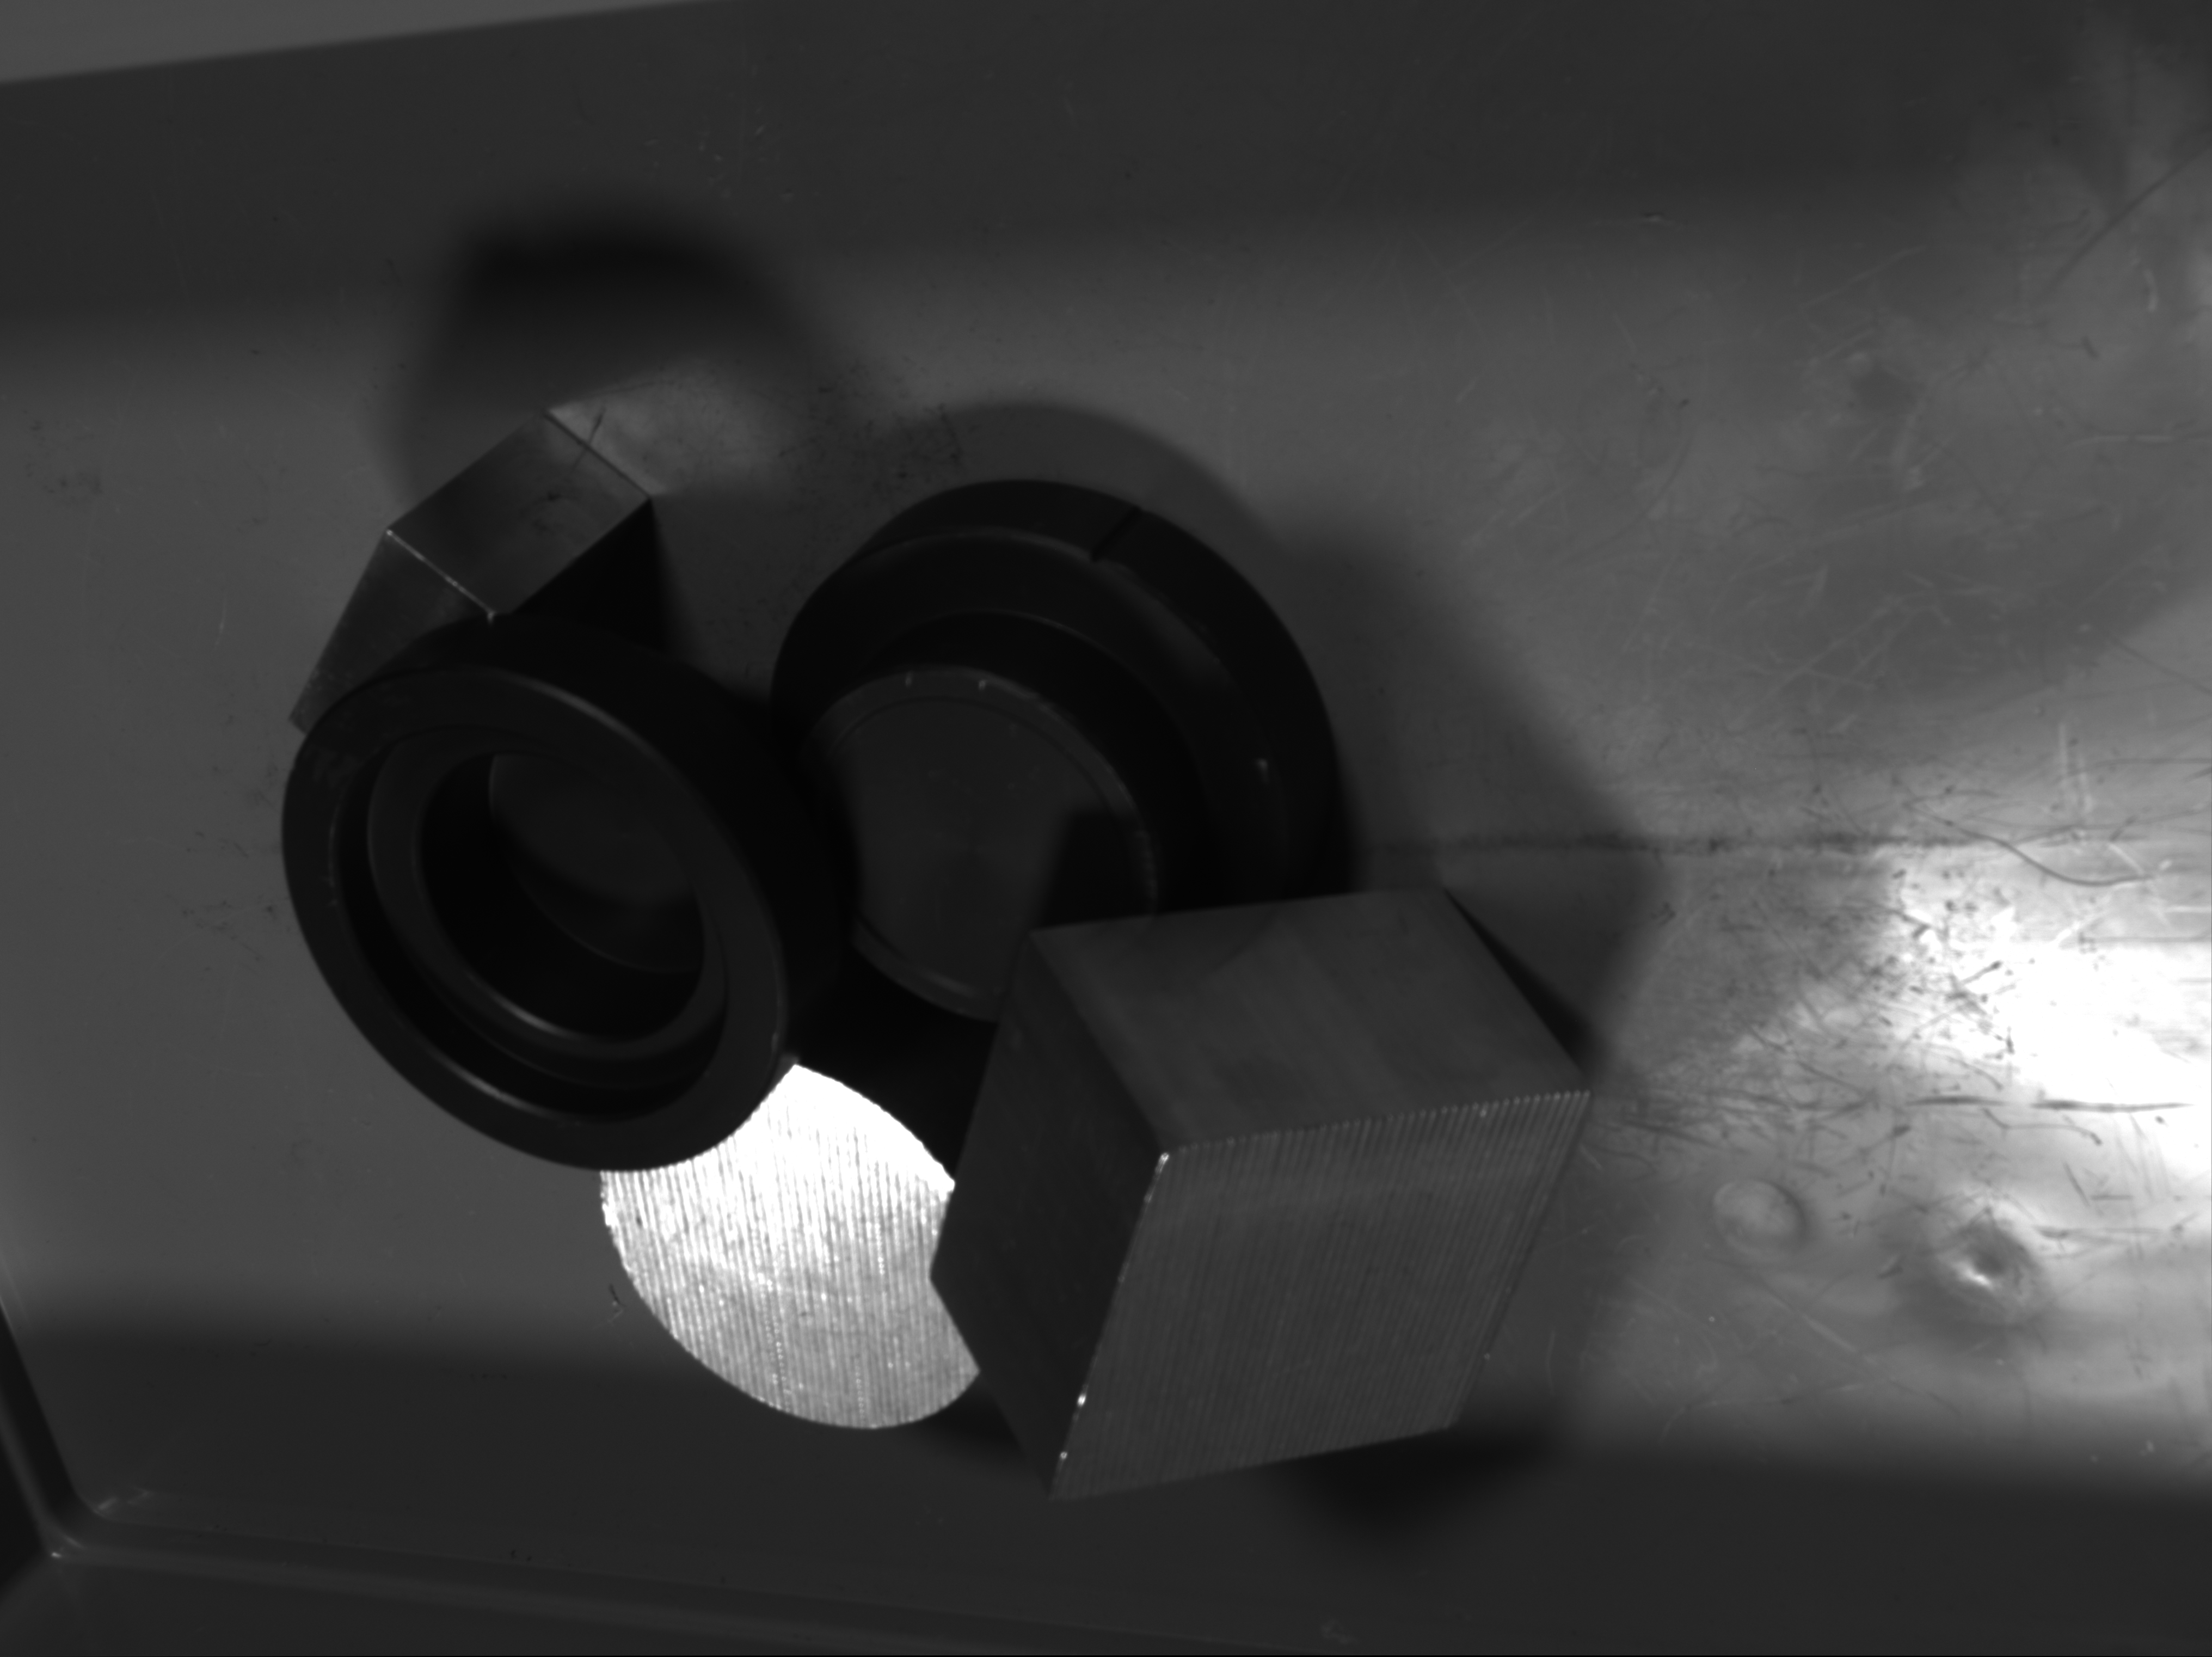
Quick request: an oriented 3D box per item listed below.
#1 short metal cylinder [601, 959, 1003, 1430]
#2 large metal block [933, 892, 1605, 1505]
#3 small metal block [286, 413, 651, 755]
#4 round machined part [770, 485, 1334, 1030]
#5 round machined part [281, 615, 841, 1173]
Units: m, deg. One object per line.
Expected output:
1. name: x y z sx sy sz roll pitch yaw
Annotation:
1. short metal cylinder: -0.045 0.063 0.674 0.080 0.050 0.080 12 123 20
2. large metal block: 0.025 0.060 0.610 0.050 0.080 0.080 56 141 42
3. small metal block: -0.112 -0.038 0.646 0.025 0.050 0.050 38 129 2
4. round machined part: -0.014 -0.005 0.621 0.098 0.042 0.098 12 123 20
5. round machined part: -0.089 0.007 0.630 0.098 0.042 0.098 12 123 20
